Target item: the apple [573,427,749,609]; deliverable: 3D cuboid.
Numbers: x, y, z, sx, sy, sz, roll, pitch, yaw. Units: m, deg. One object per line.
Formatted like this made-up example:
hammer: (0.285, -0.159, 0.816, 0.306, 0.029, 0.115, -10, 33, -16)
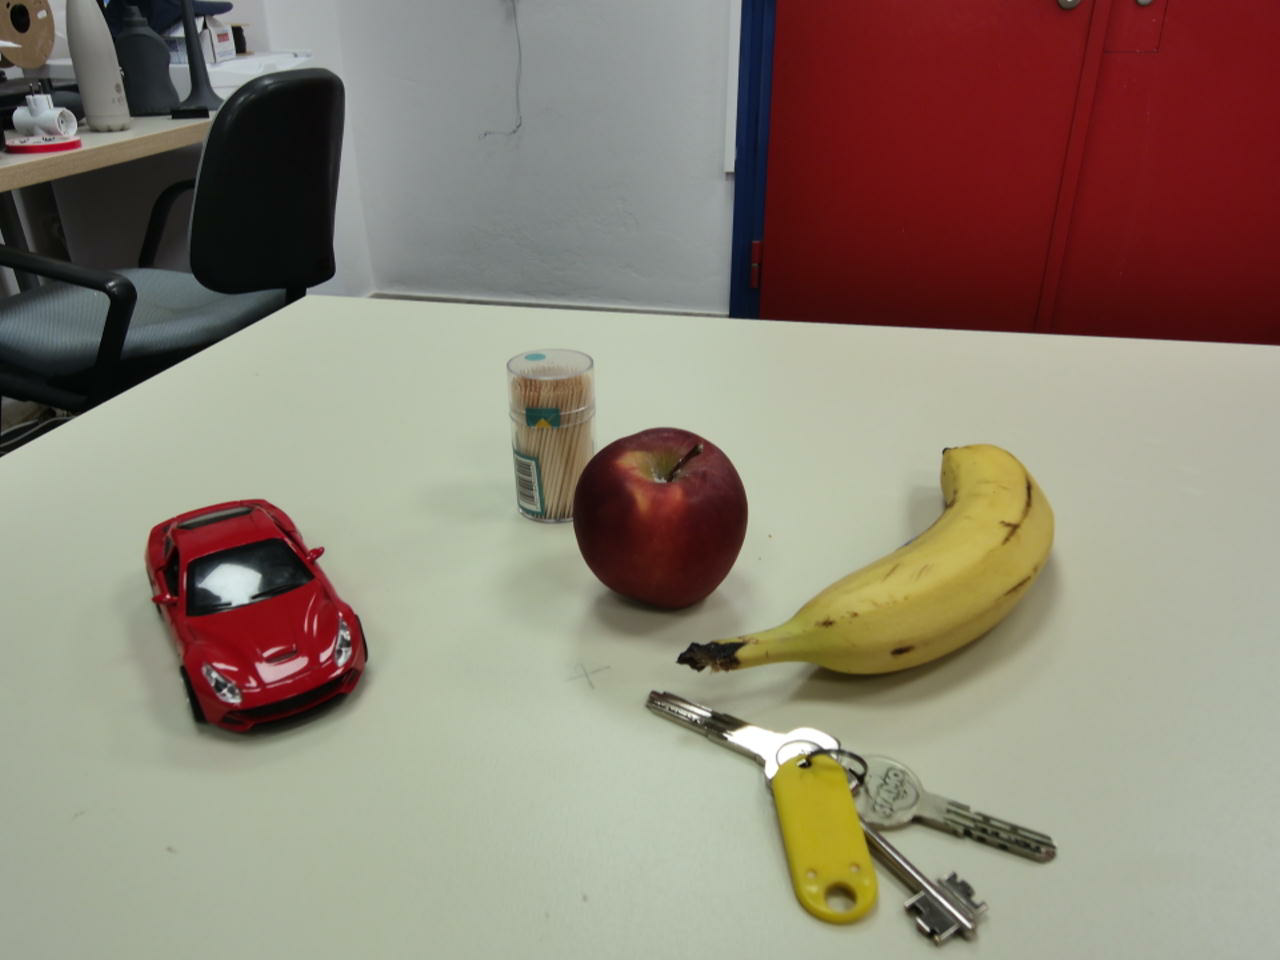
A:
apple: (0.009, 0.015, 0.395, 0.070, 0.072, 0.070, 1, 24, 0)
